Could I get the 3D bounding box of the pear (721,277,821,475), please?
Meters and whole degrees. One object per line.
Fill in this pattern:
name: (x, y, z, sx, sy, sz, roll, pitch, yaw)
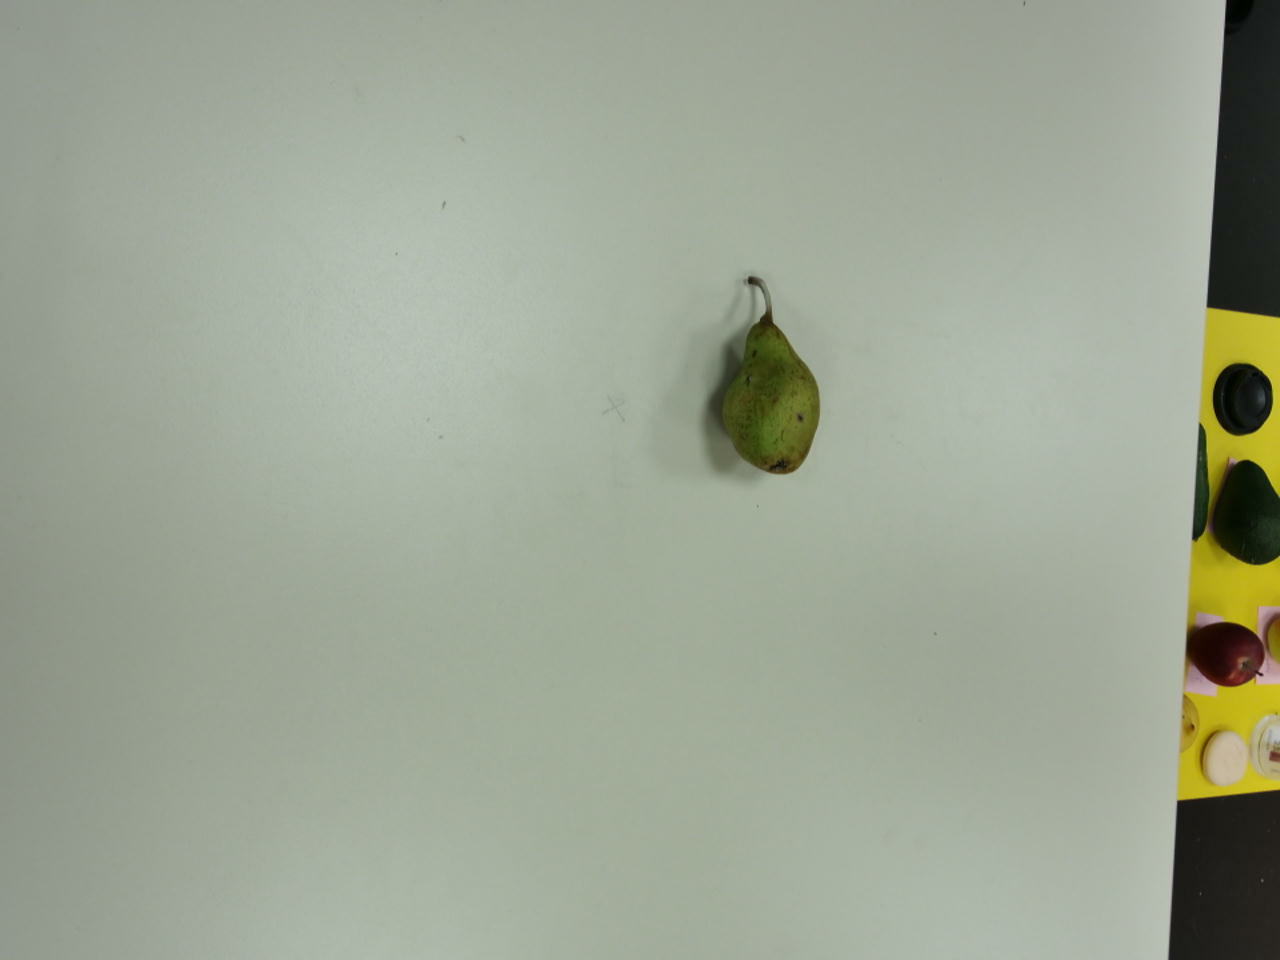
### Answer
pear: (0.081, -0.059, 0.570, 0.056, 0.056, 0.111, 20, 82, -21)
